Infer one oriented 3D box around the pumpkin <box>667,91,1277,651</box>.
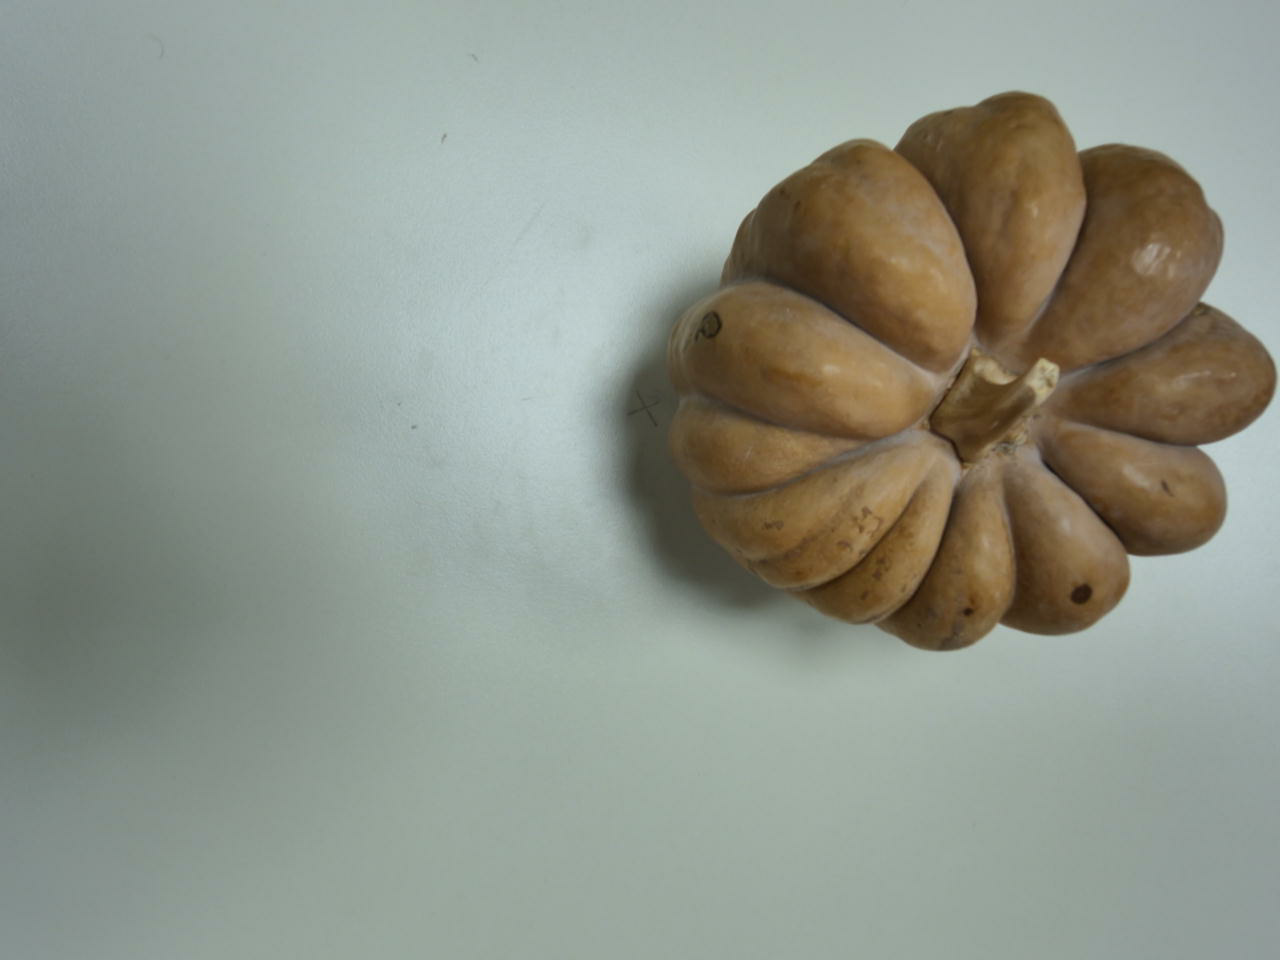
[{"bbox_3d":[0.108,-0.034,0.372,0.199,0.177,0.198,0,90,-12],"label":"pumpkin"}]
